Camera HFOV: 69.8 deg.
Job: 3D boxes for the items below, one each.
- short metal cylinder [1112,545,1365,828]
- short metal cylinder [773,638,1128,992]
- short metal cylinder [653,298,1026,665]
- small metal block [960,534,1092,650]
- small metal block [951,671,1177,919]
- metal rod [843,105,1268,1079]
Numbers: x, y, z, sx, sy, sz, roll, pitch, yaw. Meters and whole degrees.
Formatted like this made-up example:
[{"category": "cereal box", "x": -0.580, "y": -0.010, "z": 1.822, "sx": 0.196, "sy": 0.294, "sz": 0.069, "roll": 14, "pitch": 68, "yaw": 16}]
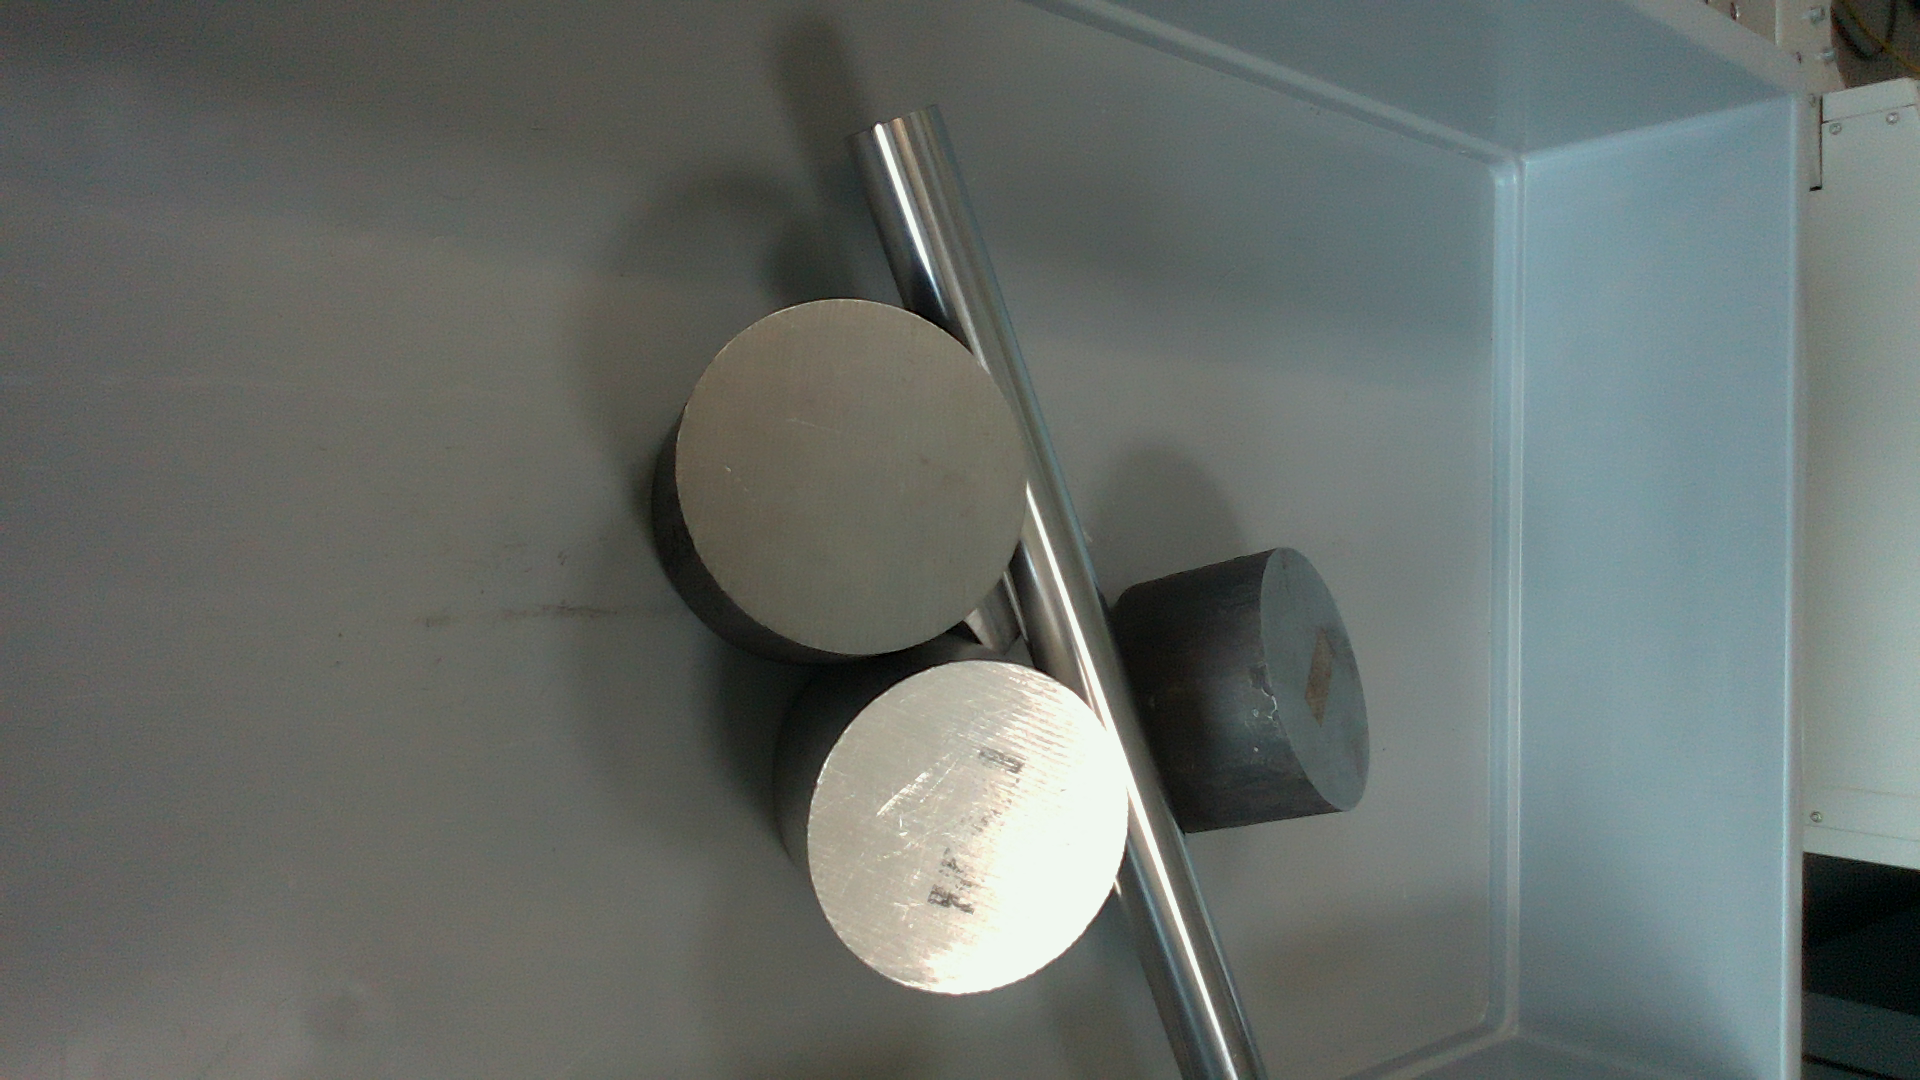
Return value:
[{"category": "short metal cylinder", "x": 0.087, "y": 0.047, "z": 0.427, "sx": 0.080, "sy": 0.050, "sz": 0.080, "roll": 33, "pitch": 49, "yaw": -47}, {"category": "short metal cylinder", "x": -0.004, "y": 0.066, "z": 0.350, "sx": 0.080, "sy": 0.050, "sz": 0.080, "roll": -1, "pitch": 94, "yaw": -17}, {"category": "short metal cylinder", "x": -0.031, "y": -0.011, "z": 0.328, "sx": 0.080, "sy": 0.050, "sz": 0.080, "roll": 3, "pitch": 81, "yaw": -18}, {"category": "small metal block", "x": 0.004, "y": -0.001, "z": 0.390, "sx": 0.050, "sy": 0.025, "sz": 0.050, "roll": -51, "pitch": 120, "yaw": -28}, {"category": "small metal block", "x": 0.032, "y": 0.076, "z": 0.414, "sx": 0.050, "sy": 0.025, "sz": 0.050, "roll": -48, "pitch": 118, "yaw": -29}, {"category": "metal rod", "x": 0.032, "y": 0.032, "z": 0.381, "sx": 0.025, "sy": 0.025, "sz": 0.300, "roll": -32, "pitch": 109, "yaw": -35}]
